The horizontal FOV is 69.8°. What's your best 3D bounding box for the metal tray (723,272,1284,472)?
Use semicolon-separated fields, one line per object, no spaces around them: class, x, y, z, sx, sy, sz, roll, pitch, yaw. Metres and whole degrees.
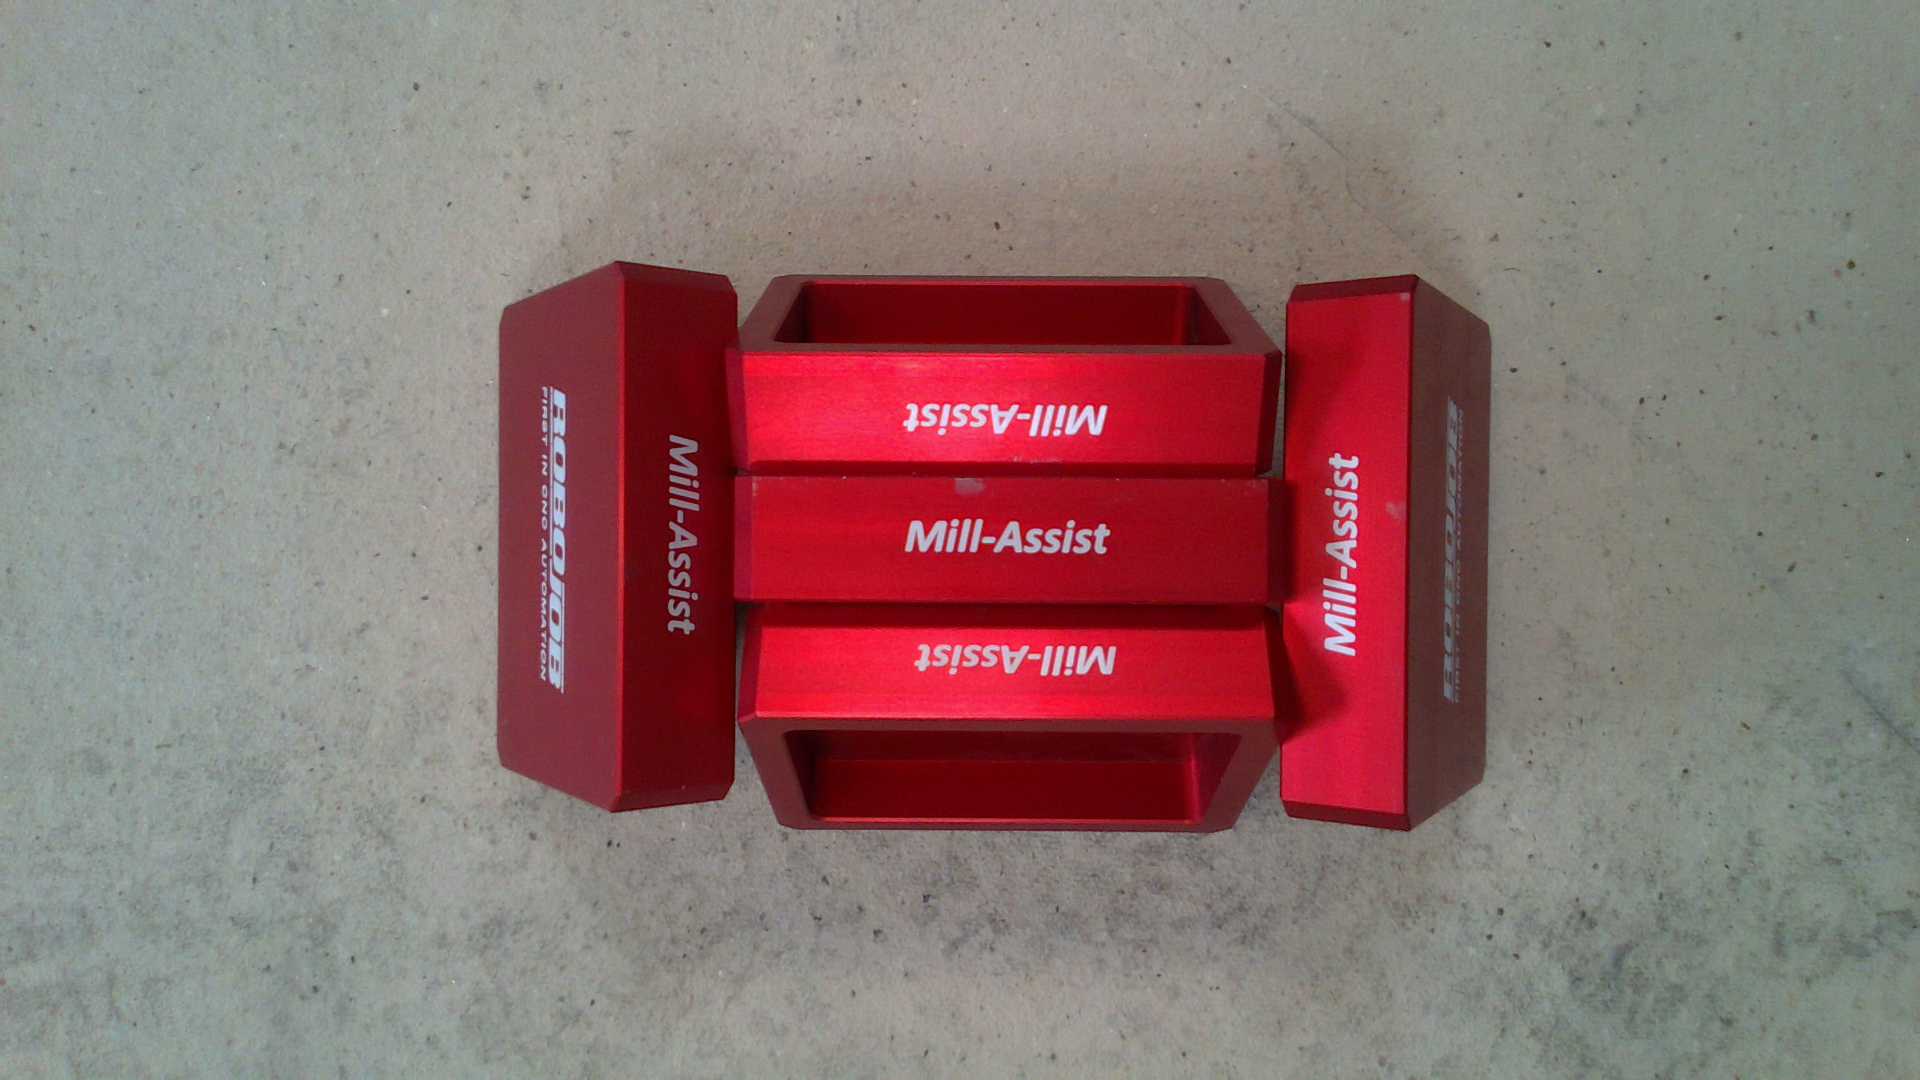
metal tray;0.010;-0.046;0.361;0.130;0.090;0.030;0;112;0

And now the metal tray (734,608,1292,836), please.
metal tray;0.013;0.050;0.362;0.130;0.090;0.030;1;61;0

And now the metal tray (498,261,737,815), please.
metal tray;-0.093;-0.001;0.364;0.030;0.090;0.130;0;90;-36

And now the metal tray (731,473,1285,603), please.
metal tray;0.011;-0.001;0.363;0.130;0.090;0.030;0;90;0

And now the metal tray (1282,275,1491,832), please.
metal tray;0.115;0.003;0.363;0.030;0.090;0.130;1;90;32
